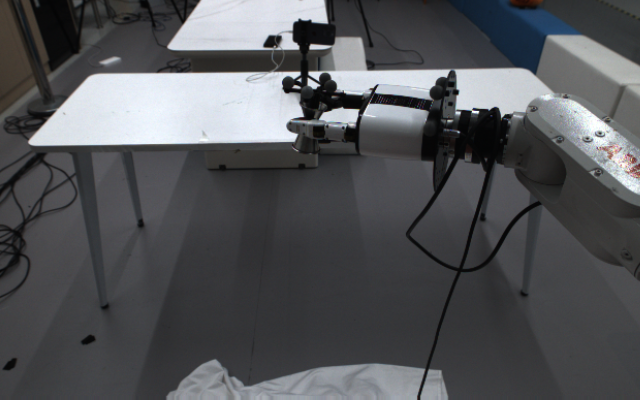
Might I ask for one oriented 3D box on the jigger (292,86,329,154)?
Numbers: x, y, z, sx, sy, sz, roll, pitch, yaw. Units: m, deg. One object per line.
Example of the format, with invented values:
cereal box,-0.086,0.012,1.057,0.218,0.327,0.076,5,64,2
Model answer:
jigger,-0.015,-0.106,0.694,0.043,0.071,0.043,9,30,-5
